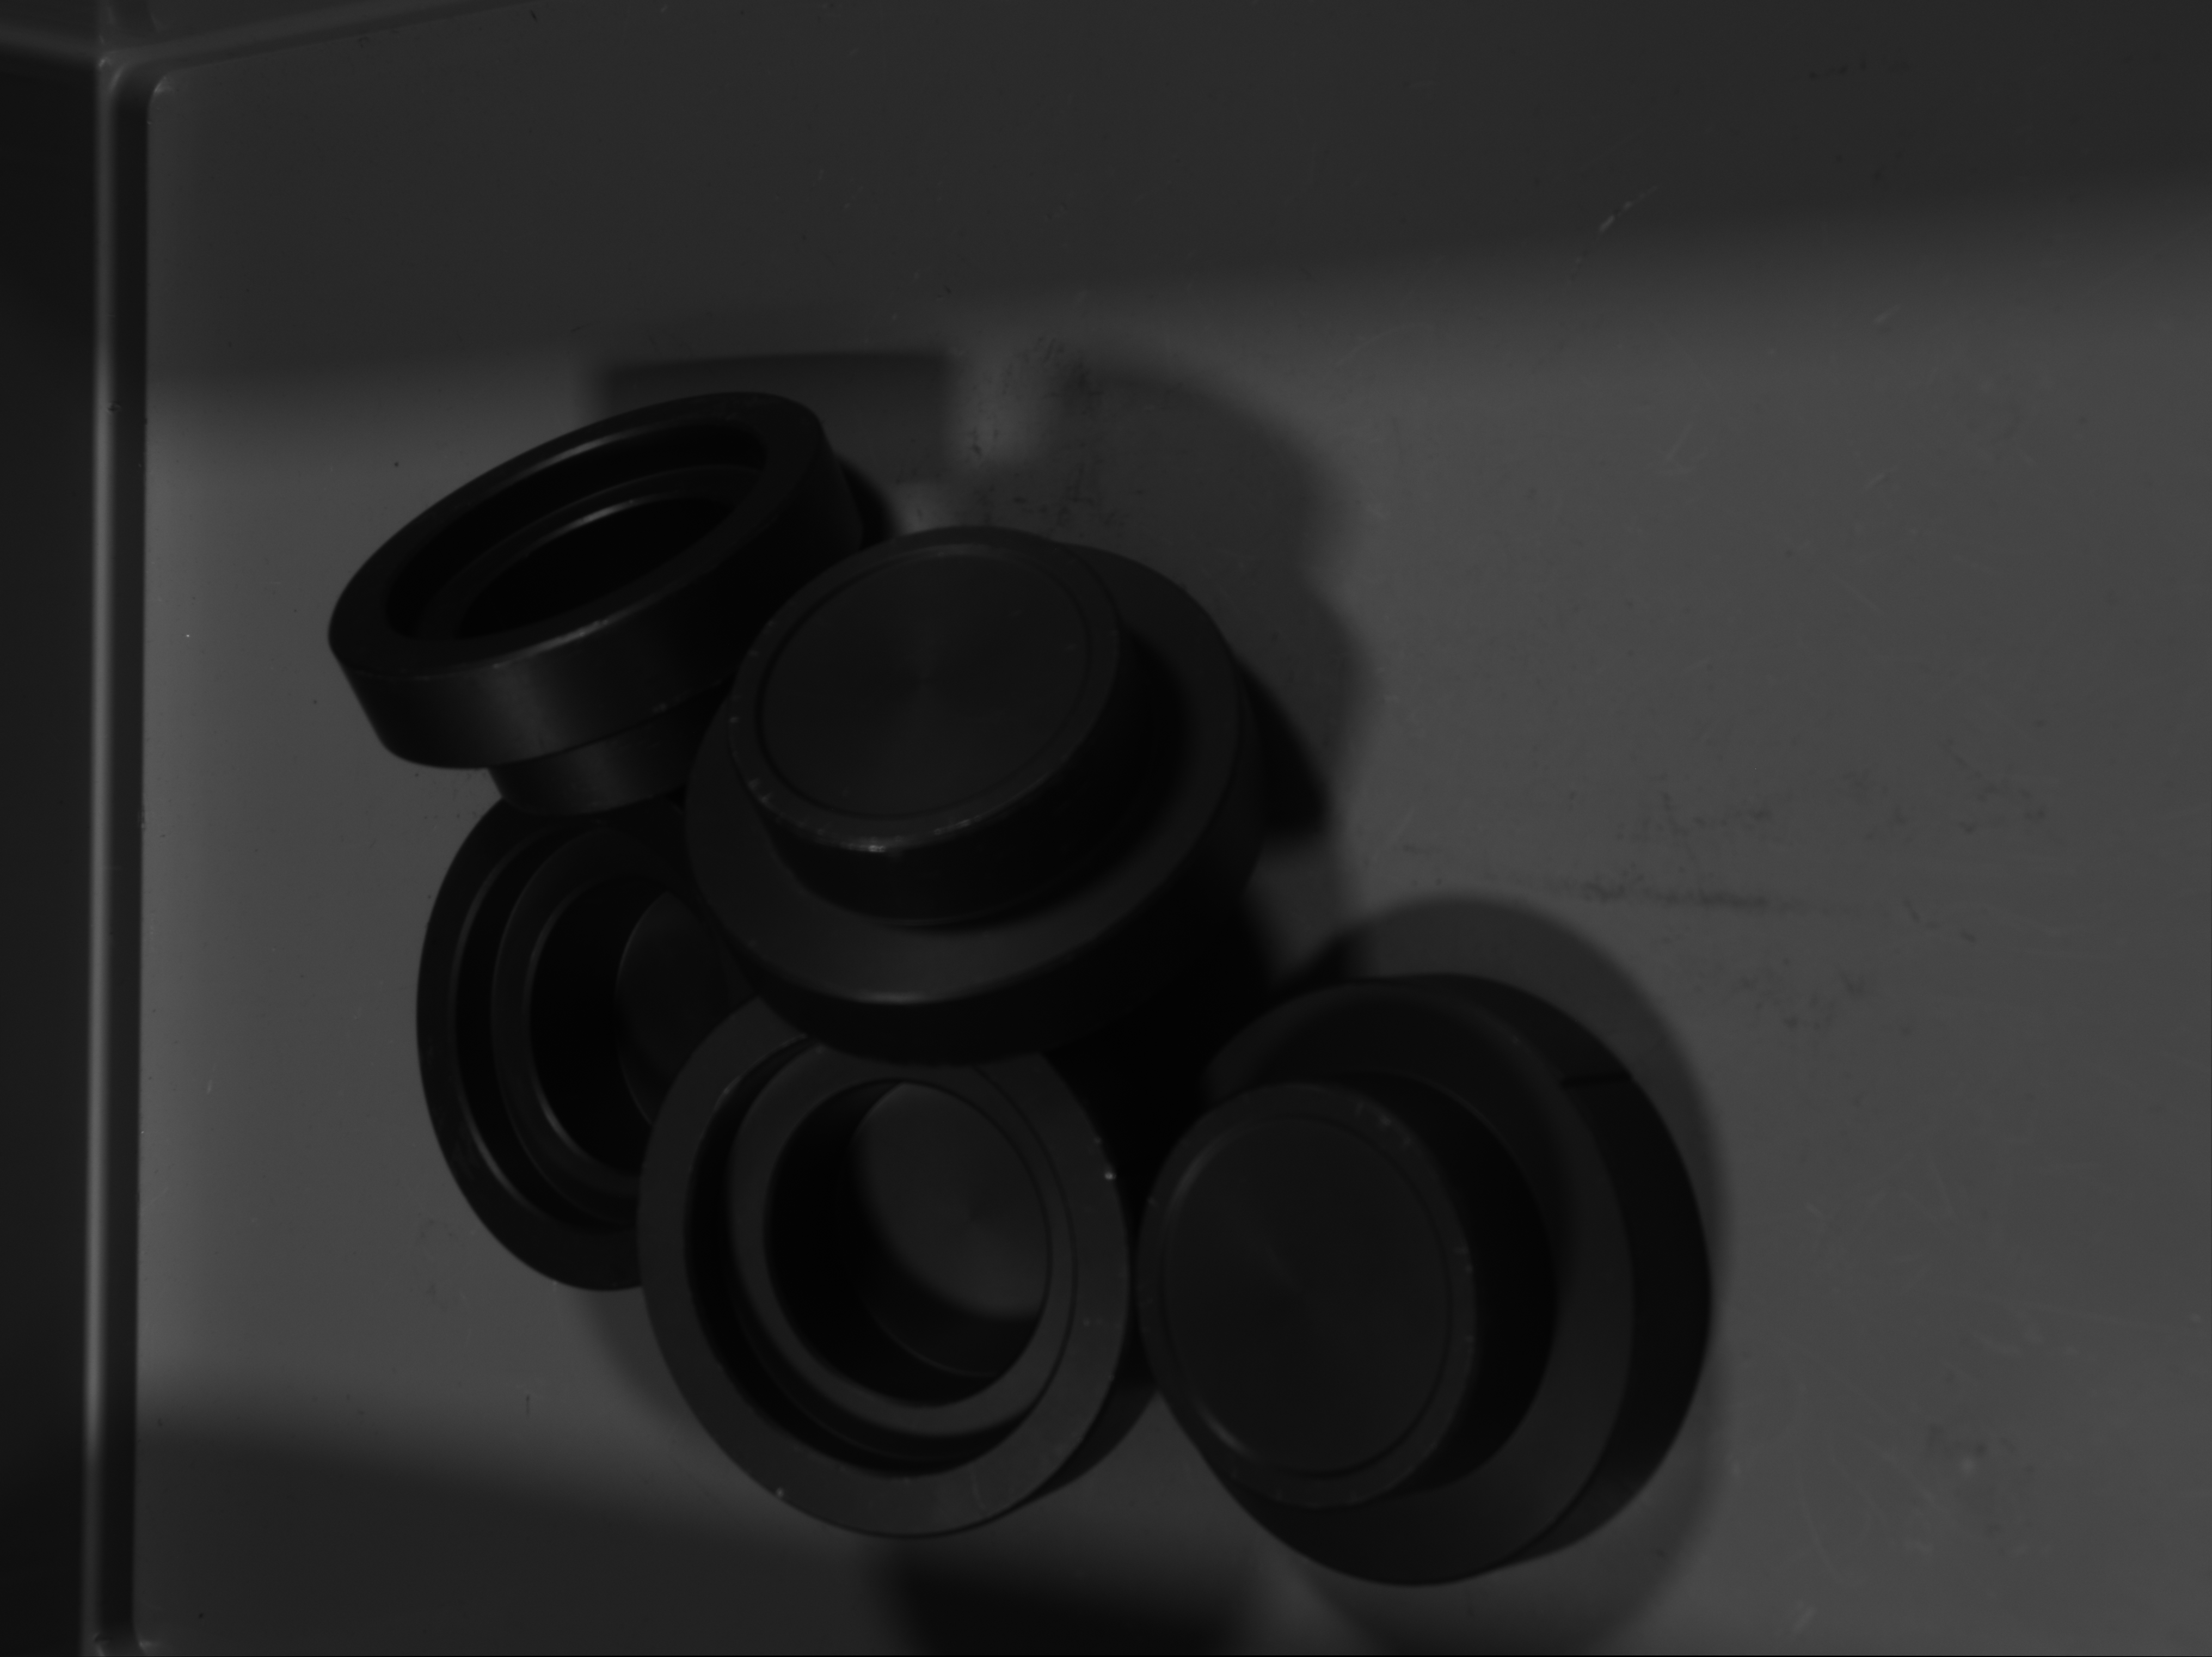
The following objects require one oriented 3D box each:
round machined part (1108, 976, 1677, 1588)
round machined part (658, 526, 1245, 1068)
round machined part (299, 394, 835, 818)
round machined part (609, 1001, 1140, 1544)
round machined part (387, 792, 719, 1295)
[{"bbox_3d":[0.039,0.073,0.591,0.098,0.042,0.098,0,90,39],"label":"round machined part"},{"bbox_3d":[-0.029,-0.012,0.612,0.098,0.042,0.098,-9,50,11],"label":"round machined part"},{"bbox_3d":[-0.095,-0.038,0.679,0.098,0.098,0.042,3,127,39],"label":"round machined part"},{"bbox_3d":[-0.034,0.071,0.636,0.098,0.042,0.098,3,97,26],"label":"round machined part"},{"bbox_3d":[-0.089,0.038,0.696,0.098,0.042,0.098,0,90,39],"label":"round machined part"}]
